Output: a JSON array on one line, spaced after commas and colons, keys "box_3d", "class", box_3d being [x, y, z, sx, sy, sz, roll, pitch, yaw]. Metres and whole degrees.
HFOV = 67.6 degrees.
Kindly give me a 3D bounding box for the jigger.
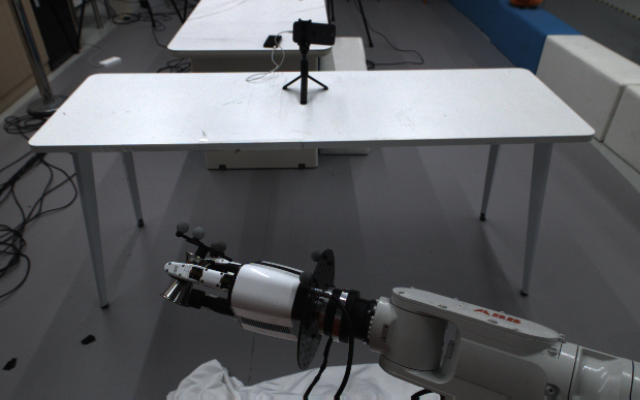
[{"box_3d": [-0.187, 0.109, 0.673, 0.043, 0.043, 0.071, 20, 74, 24], "class": "jigger"}]
